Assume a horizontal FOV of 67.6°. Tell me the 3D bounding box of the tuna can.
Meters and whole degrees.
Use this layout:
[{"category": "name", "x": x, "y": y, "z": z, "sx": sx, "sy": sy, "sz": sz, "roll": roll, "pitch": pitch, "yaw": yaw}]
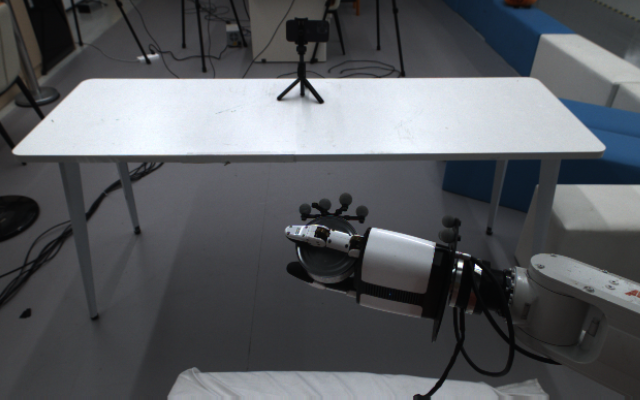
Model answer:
[{"category": "tuna can", "x": 0.014, "y": 0.071, "z": 0.641, "sx": 0.085, "sy": 0.034, "sz": 0.085, "roll": -4, "pitch": 62, "yaw": 7}]
